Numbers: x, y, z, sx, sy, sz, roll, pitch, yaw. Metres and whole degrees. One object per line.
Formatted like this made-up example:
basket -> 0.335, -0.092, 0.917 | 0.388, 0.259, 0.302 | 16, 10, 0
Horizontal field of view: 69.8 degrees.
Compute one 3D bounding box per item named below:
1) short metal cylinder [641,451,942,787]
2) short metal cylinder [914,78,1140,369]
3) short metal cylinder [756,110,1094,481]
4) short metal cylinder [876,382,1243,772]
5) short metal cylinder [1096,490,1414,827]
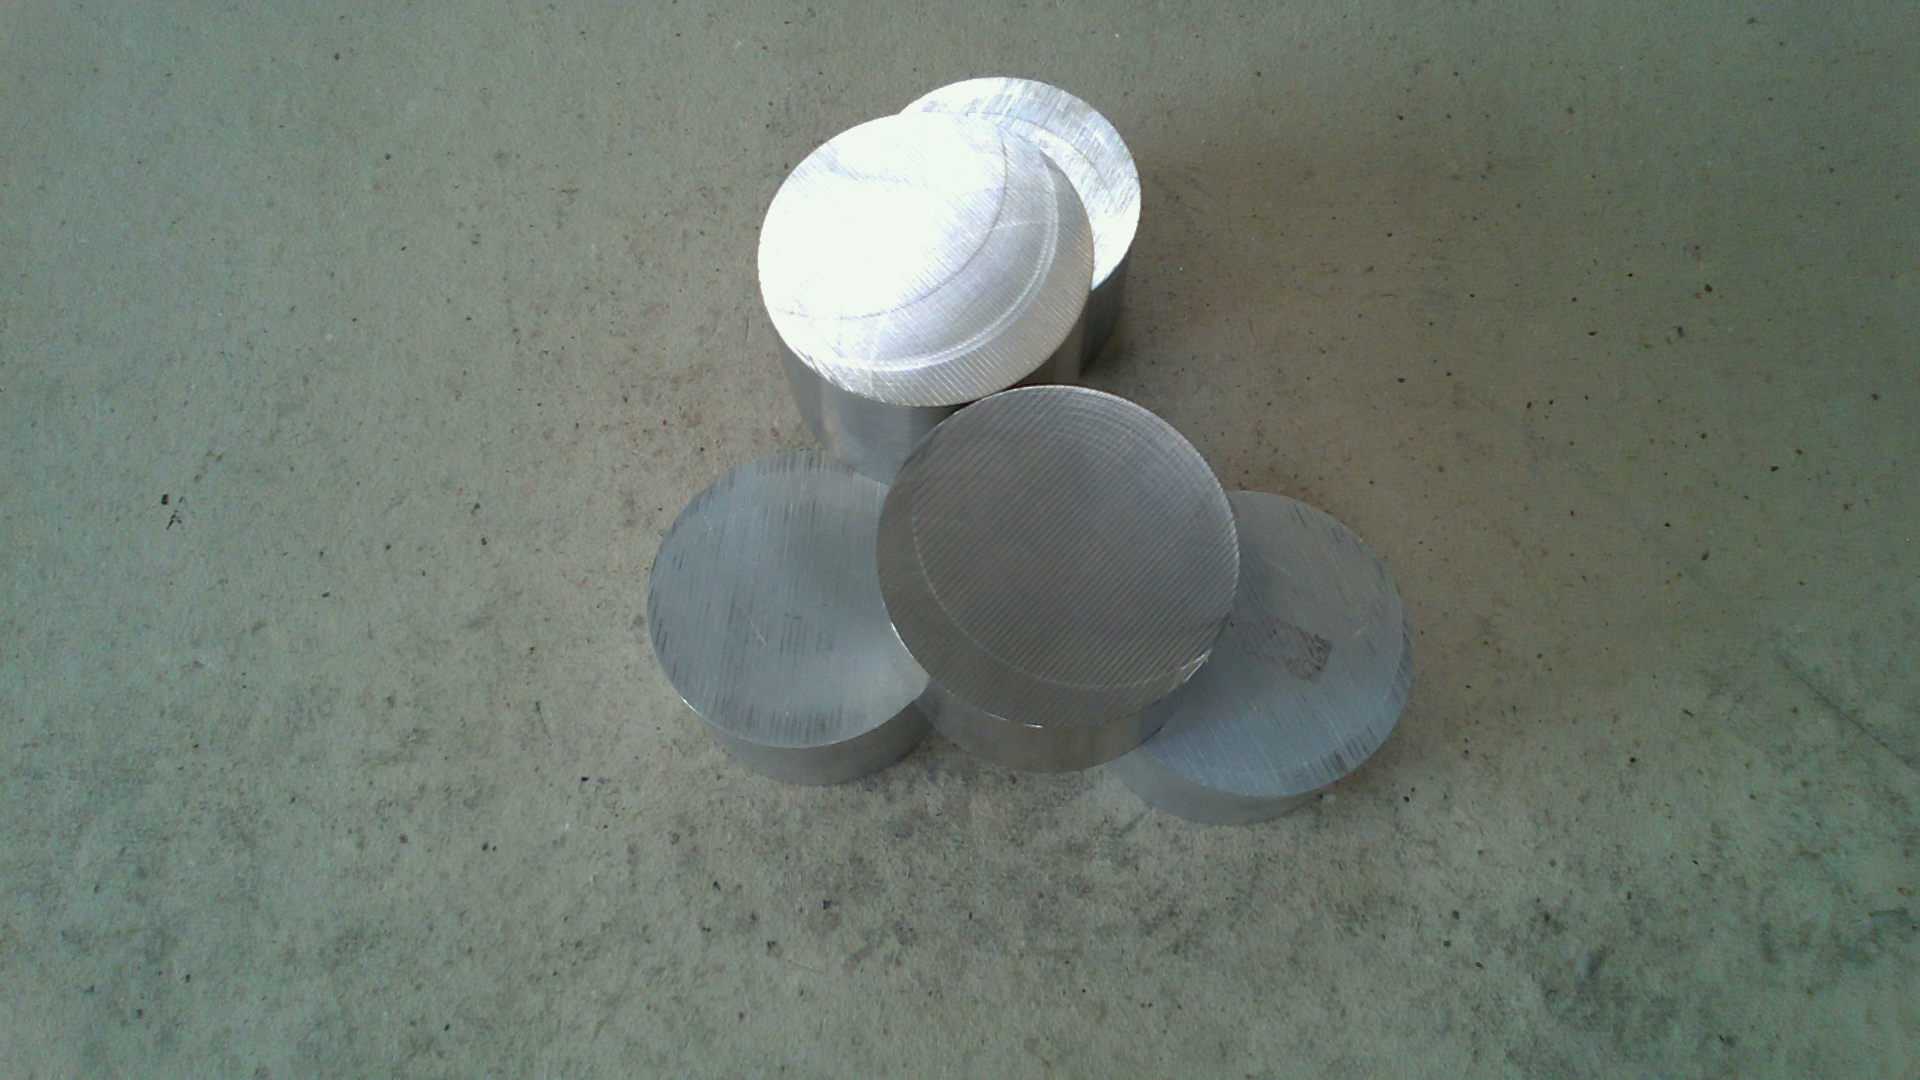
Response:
short metal cylinder -> -0.041, 0.023, 0.373 | 0.080, 0.050, 0.080 | 0, 70, 0
short metal cylinder -> 0.011, -0.090, 0.415 | 0.080, 0.050, 0.080 | 0, 70, 0
short metal cylinder -> -0.008, -0.060, 0.349 | 0.080, 0.050, 0.080 | 0, 70, 0
short metal cylinder -> 0.022, 0.010, 0.324 | 0.080, 0.050, 0.080 | 0, 70, 0
short metal cylinder -> 0.074, 0.033, 0.369 | 0.080, 0.050, 0.080 | 0, 70, 0
